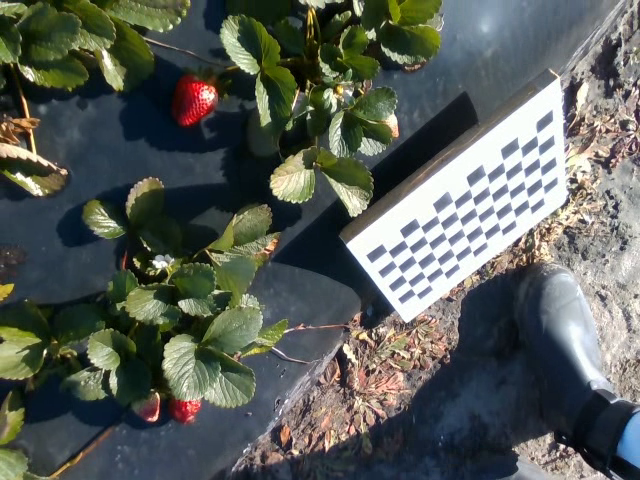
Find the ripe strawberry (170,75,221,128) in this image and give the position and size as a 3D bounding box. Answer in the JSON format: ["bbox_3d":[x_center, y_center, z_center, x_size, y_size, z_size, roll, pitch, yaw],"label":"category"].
[{"bbox_3d":[-0.112,-0.123,0.574,0.044,0.056,0.041,28,-6,29],"label":"ripe strawberry"}]
